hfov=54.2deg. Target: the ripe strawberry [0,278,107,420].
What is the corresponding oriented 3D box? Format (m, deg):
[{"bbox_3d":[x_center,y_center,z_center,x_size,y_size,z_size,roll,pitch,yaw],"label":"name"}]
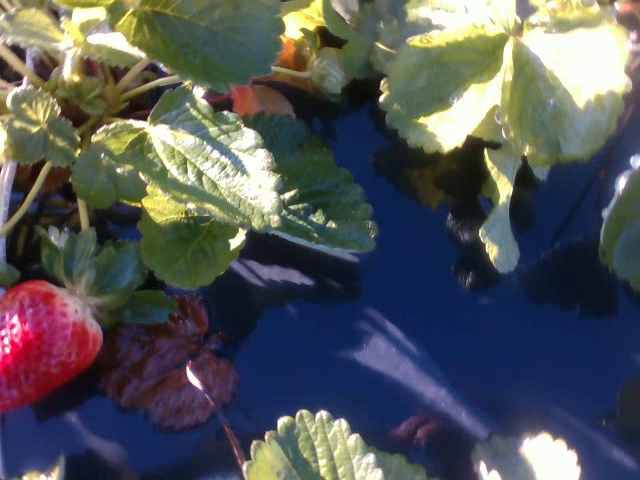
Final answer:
[{"bbox_3d":[-0.126,0.048,0.271,0.040,0.062,0.080,-20,28,55],"label":"ripe strawberry"}]
